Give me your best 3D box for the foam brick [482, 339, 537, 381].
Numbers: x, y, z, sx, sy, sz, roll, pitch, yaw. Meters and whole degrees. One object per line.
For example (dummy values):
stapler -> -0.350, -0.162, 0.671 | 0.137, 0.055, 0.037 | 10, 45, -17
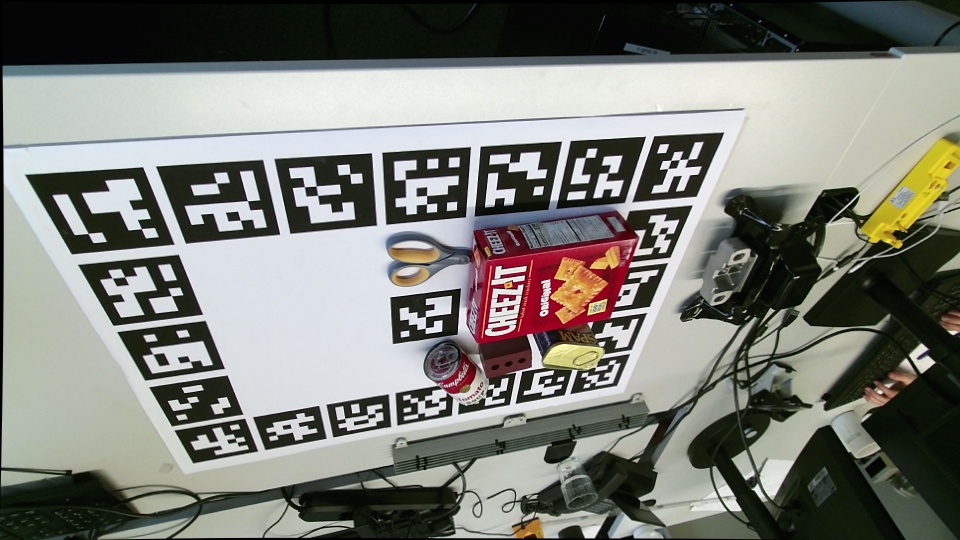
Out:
foam brick -> 0.047, 0.134, 0.862 | 0.078, 0.051, 0.053 | -15, 131, -7

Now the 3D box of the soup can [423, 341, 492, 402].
soup can -> -0.034, 0.165, 0.858 | 0.068, 0.067, 0.102 | -35, 136, 11

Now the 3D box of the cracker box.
cracker box -> 0.107, 0.011, 0.745 | 0.214, 0.071, 0.164 | -13, 133, -14

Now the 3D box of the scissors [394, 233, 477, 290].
scissors -> -0.010, -0.022, 0.717 | 0.203, 0.016, 0.088 | -11, 131, -11

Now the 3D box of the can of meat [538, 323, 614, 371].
can of meat -> 0.146, 0.110, 0.851 | 0.102, 0.083, 0.058 | 5, 126, -23
